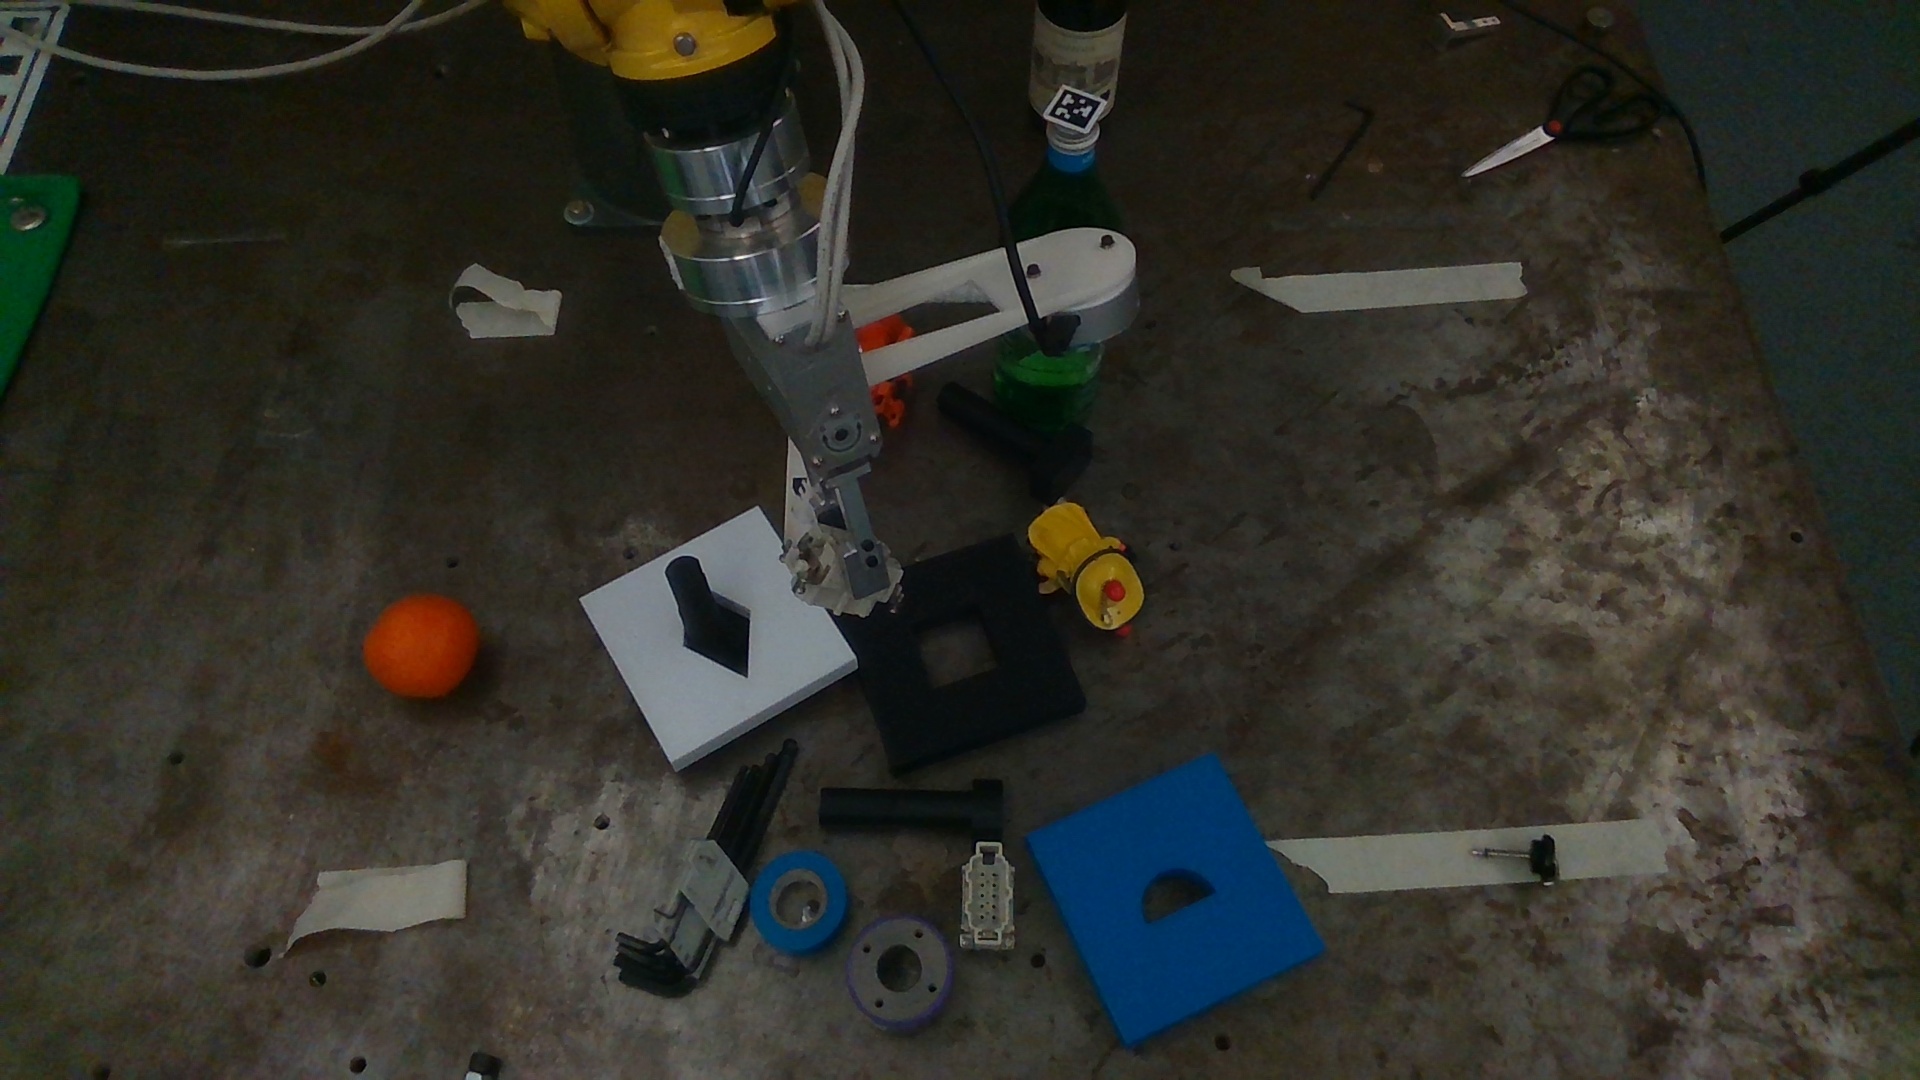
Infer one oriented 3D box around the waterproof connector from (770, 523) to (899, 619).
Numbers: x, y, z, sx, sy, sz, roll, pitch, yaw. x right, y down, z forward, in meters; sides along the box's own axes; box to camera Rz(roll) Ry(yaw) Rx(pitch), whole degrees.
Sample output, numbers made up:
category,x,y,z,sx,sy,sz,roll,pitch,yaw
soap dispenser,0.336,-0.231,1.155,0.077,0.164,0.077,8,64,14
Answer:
category,x,y,z,sx,sy,sz,roll,pitch,yaw
waterproof connector,-0.067,0.019,0.753,0.069,0.038,0.037,17,19,-35
